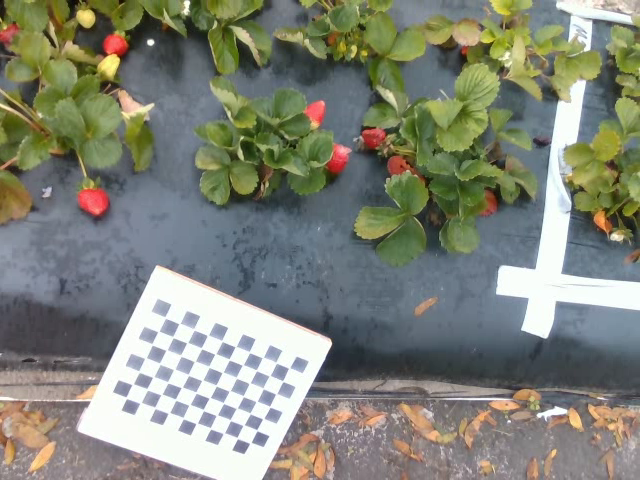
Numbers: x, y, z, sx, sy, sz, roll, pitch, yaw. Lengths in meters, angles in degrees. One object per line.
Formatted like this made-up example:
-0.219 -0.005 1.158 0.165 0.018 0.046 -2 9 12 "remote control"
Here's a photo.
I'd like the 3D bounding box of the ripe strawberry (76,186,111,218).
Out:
-0.338 -0.055 0.876 0.045 0.054 0.048 -25 -32 -2 "ripe strawberry"
